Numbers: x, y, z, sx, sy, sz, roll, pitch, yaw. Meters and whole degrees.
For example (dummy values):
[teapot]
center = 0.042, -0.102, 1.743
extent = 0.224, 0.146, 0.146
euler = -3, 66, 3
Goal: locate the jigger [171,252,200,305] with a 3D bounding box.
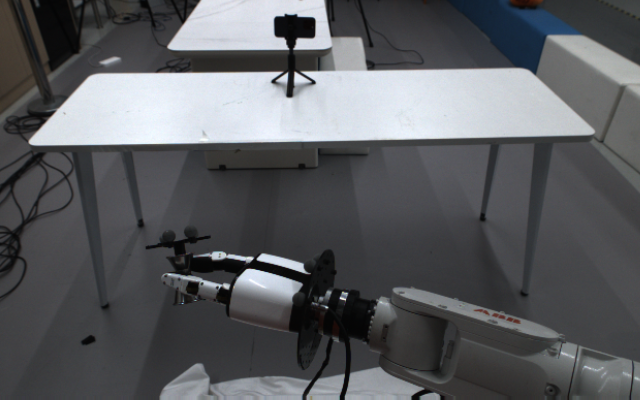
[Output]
[jigger]
center = -0.190, 0.111, 0.684
extent = 0.043, 0.071, 0.043
euler = -11, -3, -1
